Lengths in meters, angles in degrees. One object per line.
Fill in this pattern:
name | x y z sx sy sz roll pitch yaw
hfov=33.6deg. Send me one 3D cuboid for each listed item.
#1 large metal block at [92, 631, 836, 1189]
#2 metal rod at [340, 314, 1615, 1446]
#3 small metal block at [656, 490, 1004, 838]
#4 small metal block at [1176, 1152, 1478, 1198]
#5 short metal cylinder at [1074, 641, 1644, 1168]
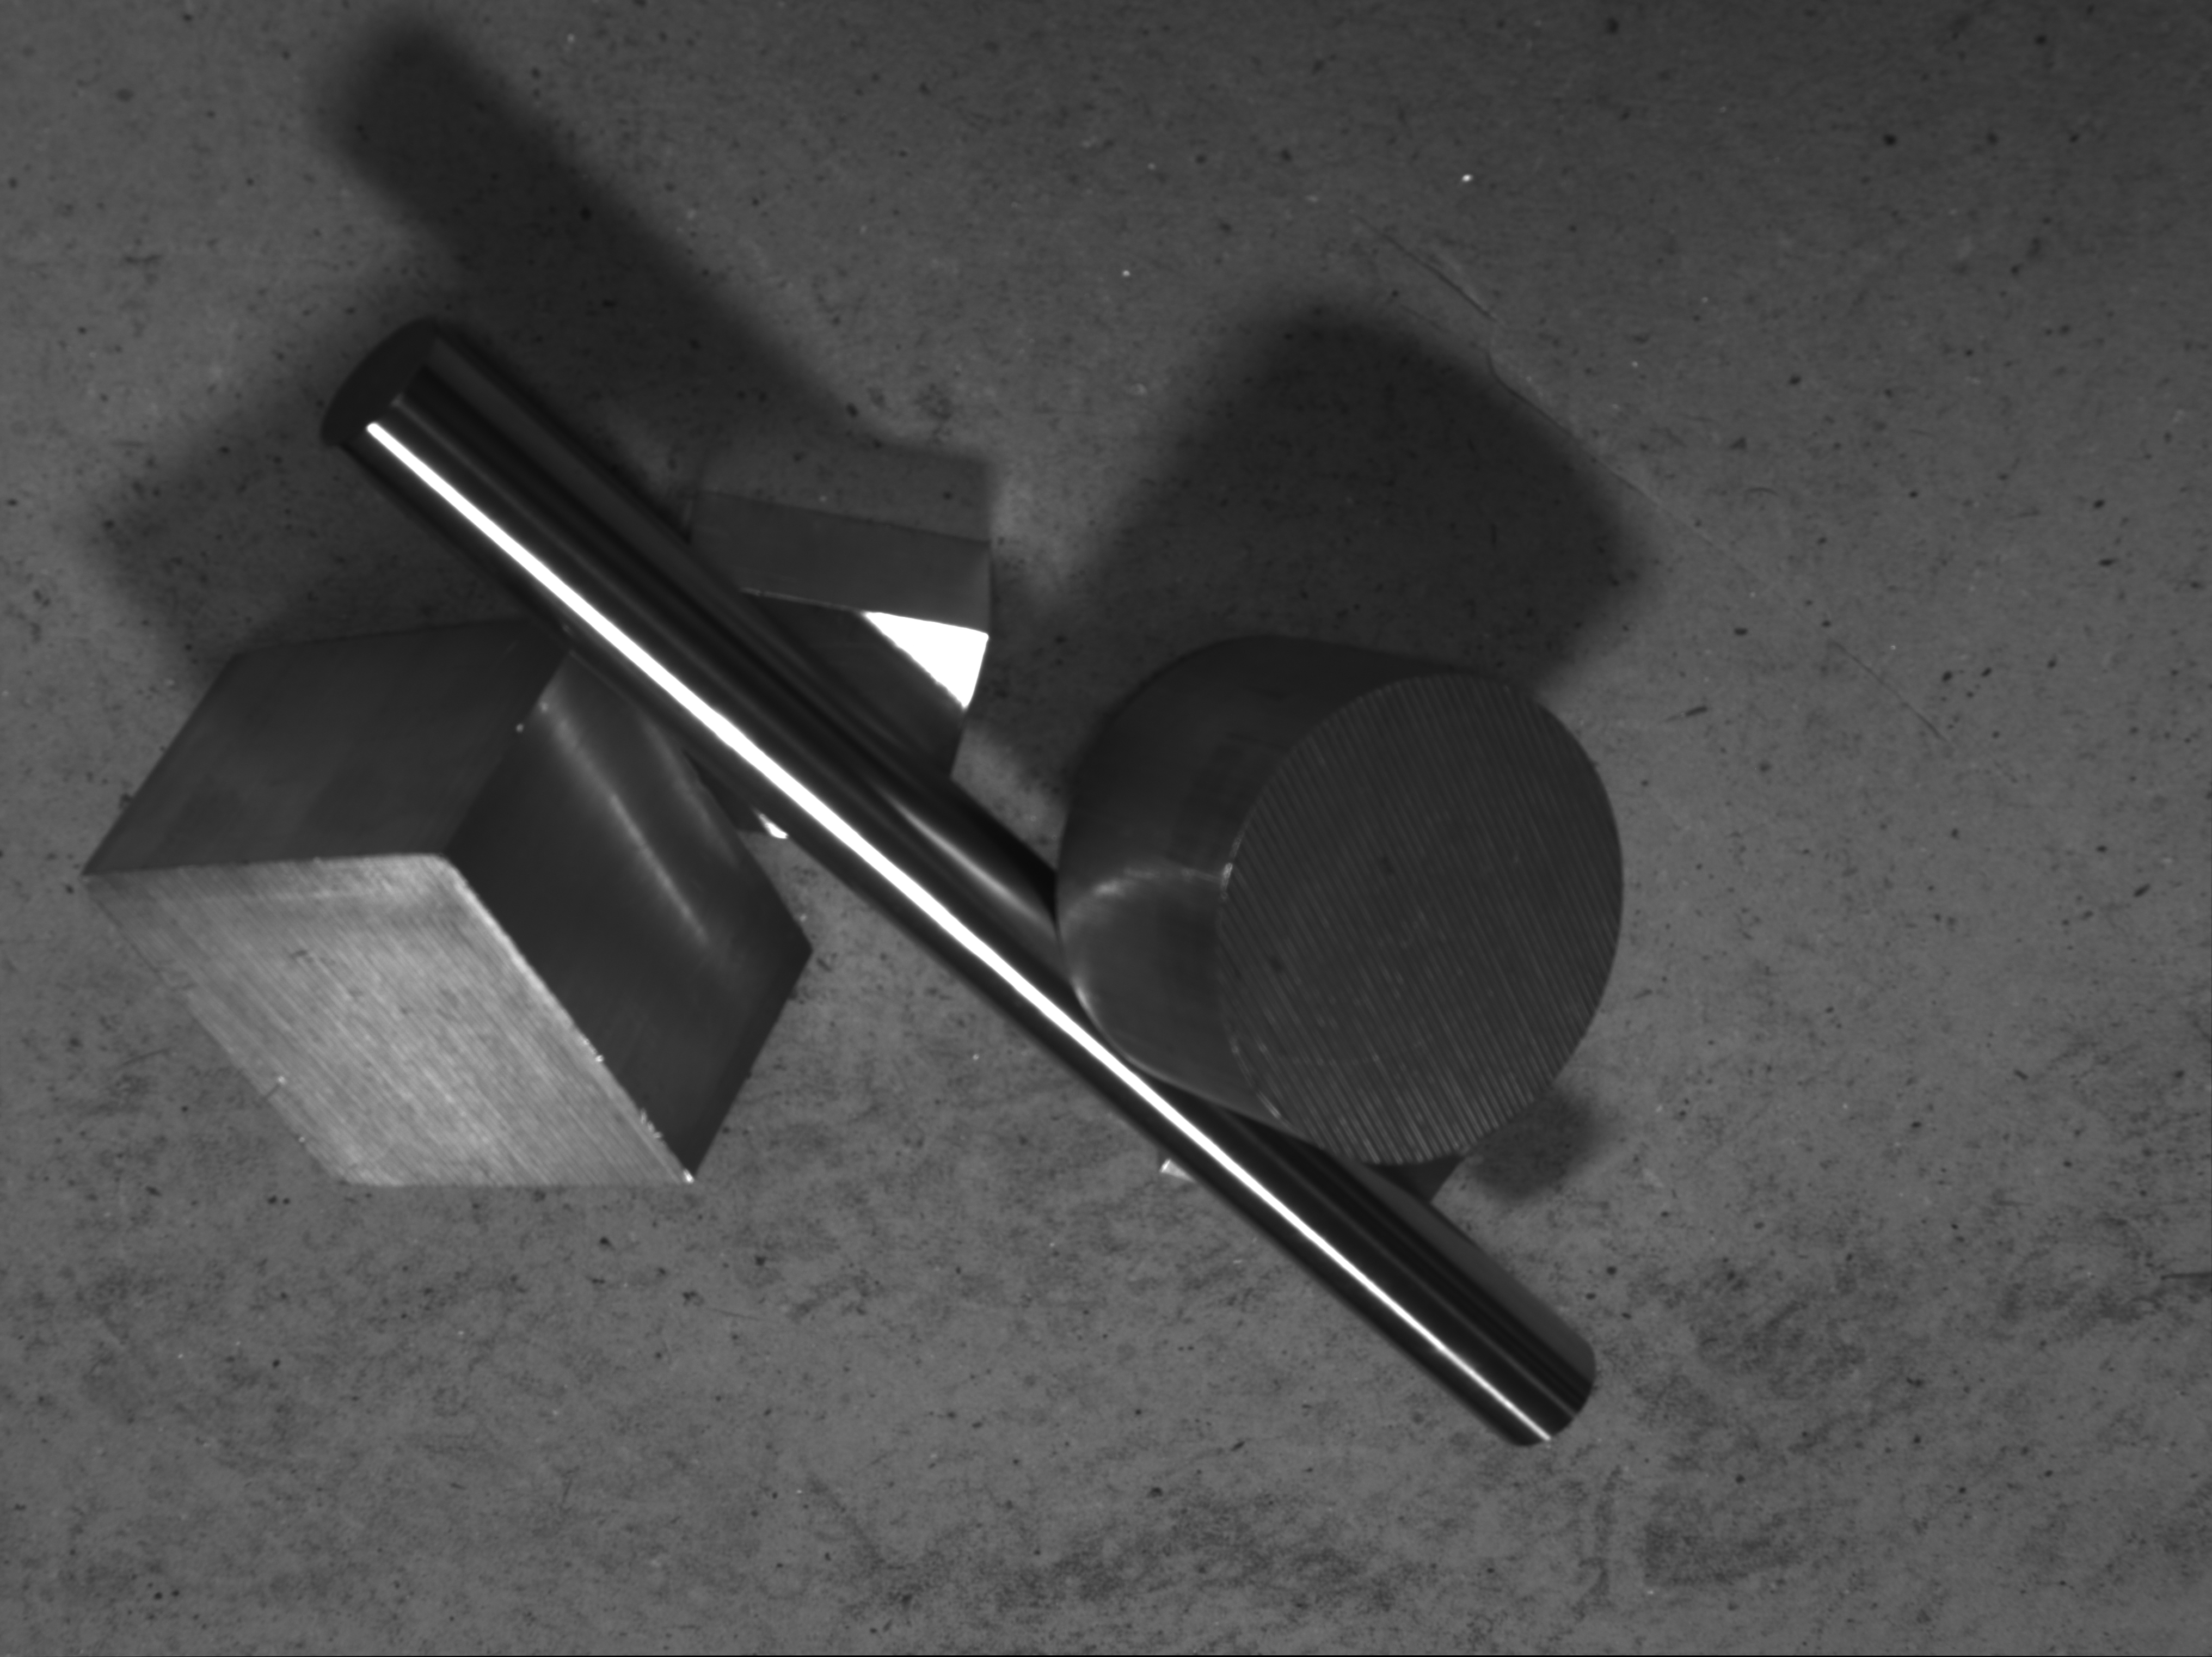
large metal block | -0.105 0.015 0.610 0.080 0.050 0.080 -3 135 32
metal rod | -0.010 0.020 0.622 0.025 0.025 0.301 -33 123 23
small metal block | -0.047 -0.025 0.616 0.050 0.025 0.050 9 129 -10
small metal block | 0.046 0.046 0.679 0.050 0.025 0.050 19 127 -17
short metal cylinder | 0.042 0.011 0.607 0.080 0.050 0.080 -6 103 -30
